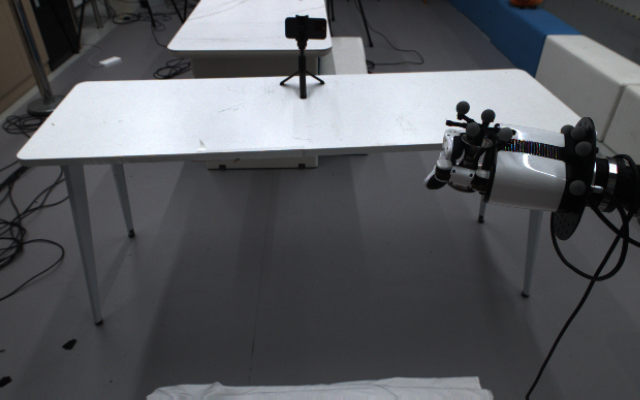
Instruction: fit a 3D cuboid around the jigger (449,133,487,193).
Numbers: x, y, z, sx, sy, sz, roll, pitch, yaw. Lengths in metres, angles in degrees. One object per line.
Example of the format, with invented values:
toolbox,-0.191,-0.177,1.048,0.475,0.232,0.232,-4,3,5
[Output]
jigger,0.201,-0.050,0.649,0.043,0.071,0.043,7,32,-4
